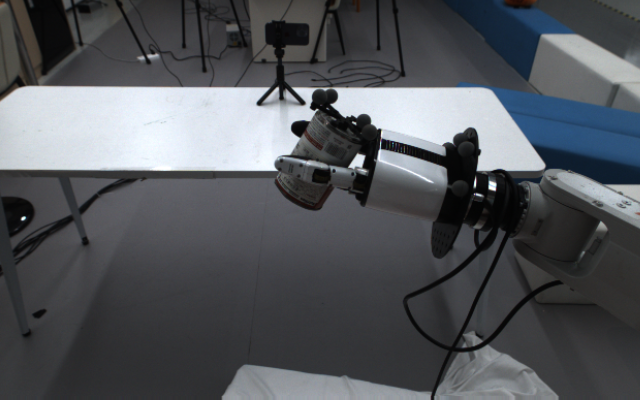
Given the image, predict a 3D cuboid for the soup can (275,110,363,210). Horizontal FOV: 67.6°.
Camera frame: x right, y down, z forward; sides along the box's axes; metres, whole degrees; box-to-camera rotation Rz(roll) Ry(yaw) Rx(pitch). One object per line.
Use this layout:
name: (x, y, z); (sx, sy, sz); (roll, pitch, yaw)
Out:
soup can: (0.000, -0.048, 0.576); (0.067, 0.101, 0.067); (28, 22, -12)
